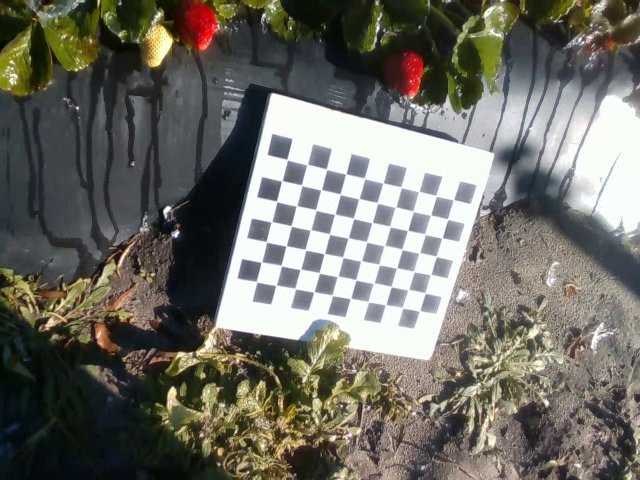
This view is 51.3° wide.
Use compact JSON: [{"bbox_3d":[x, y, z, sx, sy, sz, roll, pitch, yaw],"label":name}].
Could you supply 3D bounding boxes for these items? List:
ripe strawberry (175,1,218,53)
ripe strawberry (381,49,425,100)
[{"bbox_3d":[-0.119,-0.204,0.658,0.043,0.061,0.046,-5,-26,-17],"label":"ripe strawberry"},{"bbox_3d":[0.097,-0.179,0.729,0.049,0.061,0.044,3,-19,-19],"label":"ripe strawberry"}]
